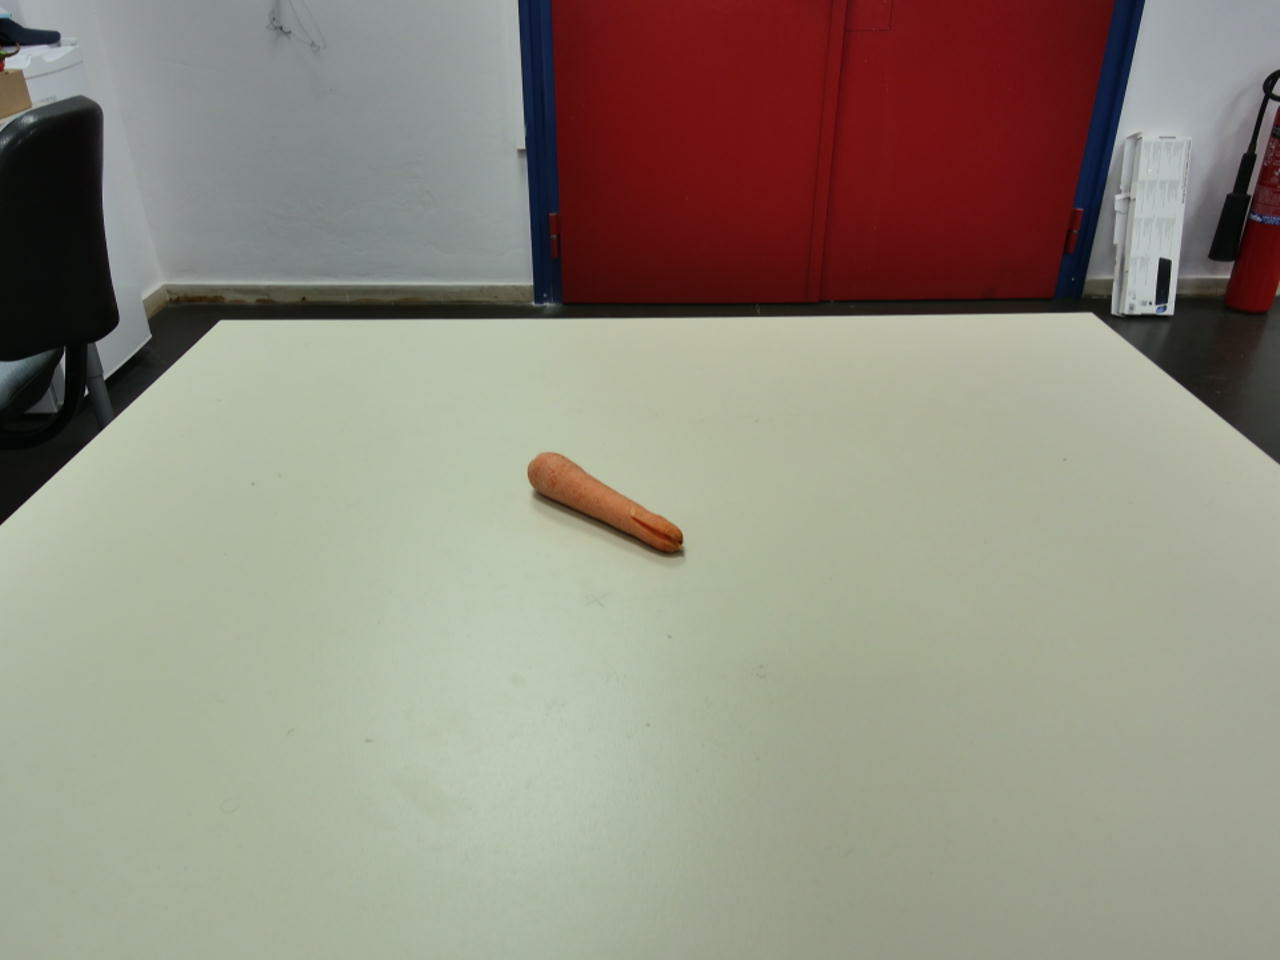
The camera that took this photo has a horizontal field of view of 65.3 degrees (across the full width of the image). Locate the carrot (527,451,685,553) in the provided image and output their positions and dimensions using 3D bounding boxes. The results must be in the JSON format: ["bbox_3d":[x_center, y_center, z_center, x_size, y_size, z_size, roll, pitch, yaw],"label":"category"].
[{"bbox_3d":[-0.025,0.012,0.642,0.136,0.032,0.030,24,35,39],"label":"carrot"}]
